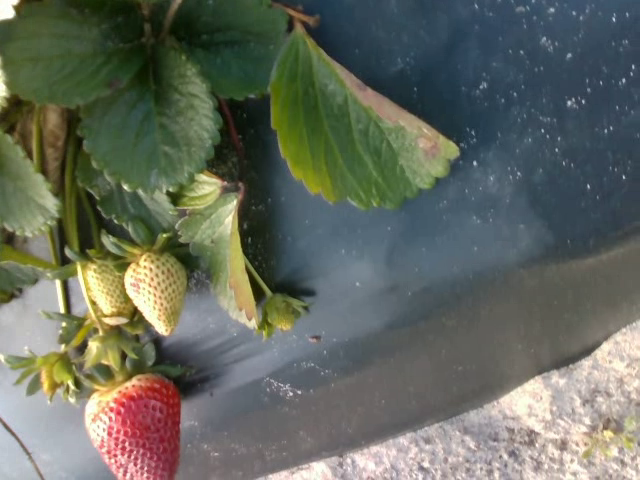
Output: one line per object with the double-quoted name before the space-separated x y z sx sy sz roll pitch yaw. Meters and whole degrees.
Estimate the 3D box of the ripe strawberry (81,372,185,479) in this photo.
"ripe strawberry" -0.095 0.105 0.328 0.052 0.068 0.044 -25 -6 20
